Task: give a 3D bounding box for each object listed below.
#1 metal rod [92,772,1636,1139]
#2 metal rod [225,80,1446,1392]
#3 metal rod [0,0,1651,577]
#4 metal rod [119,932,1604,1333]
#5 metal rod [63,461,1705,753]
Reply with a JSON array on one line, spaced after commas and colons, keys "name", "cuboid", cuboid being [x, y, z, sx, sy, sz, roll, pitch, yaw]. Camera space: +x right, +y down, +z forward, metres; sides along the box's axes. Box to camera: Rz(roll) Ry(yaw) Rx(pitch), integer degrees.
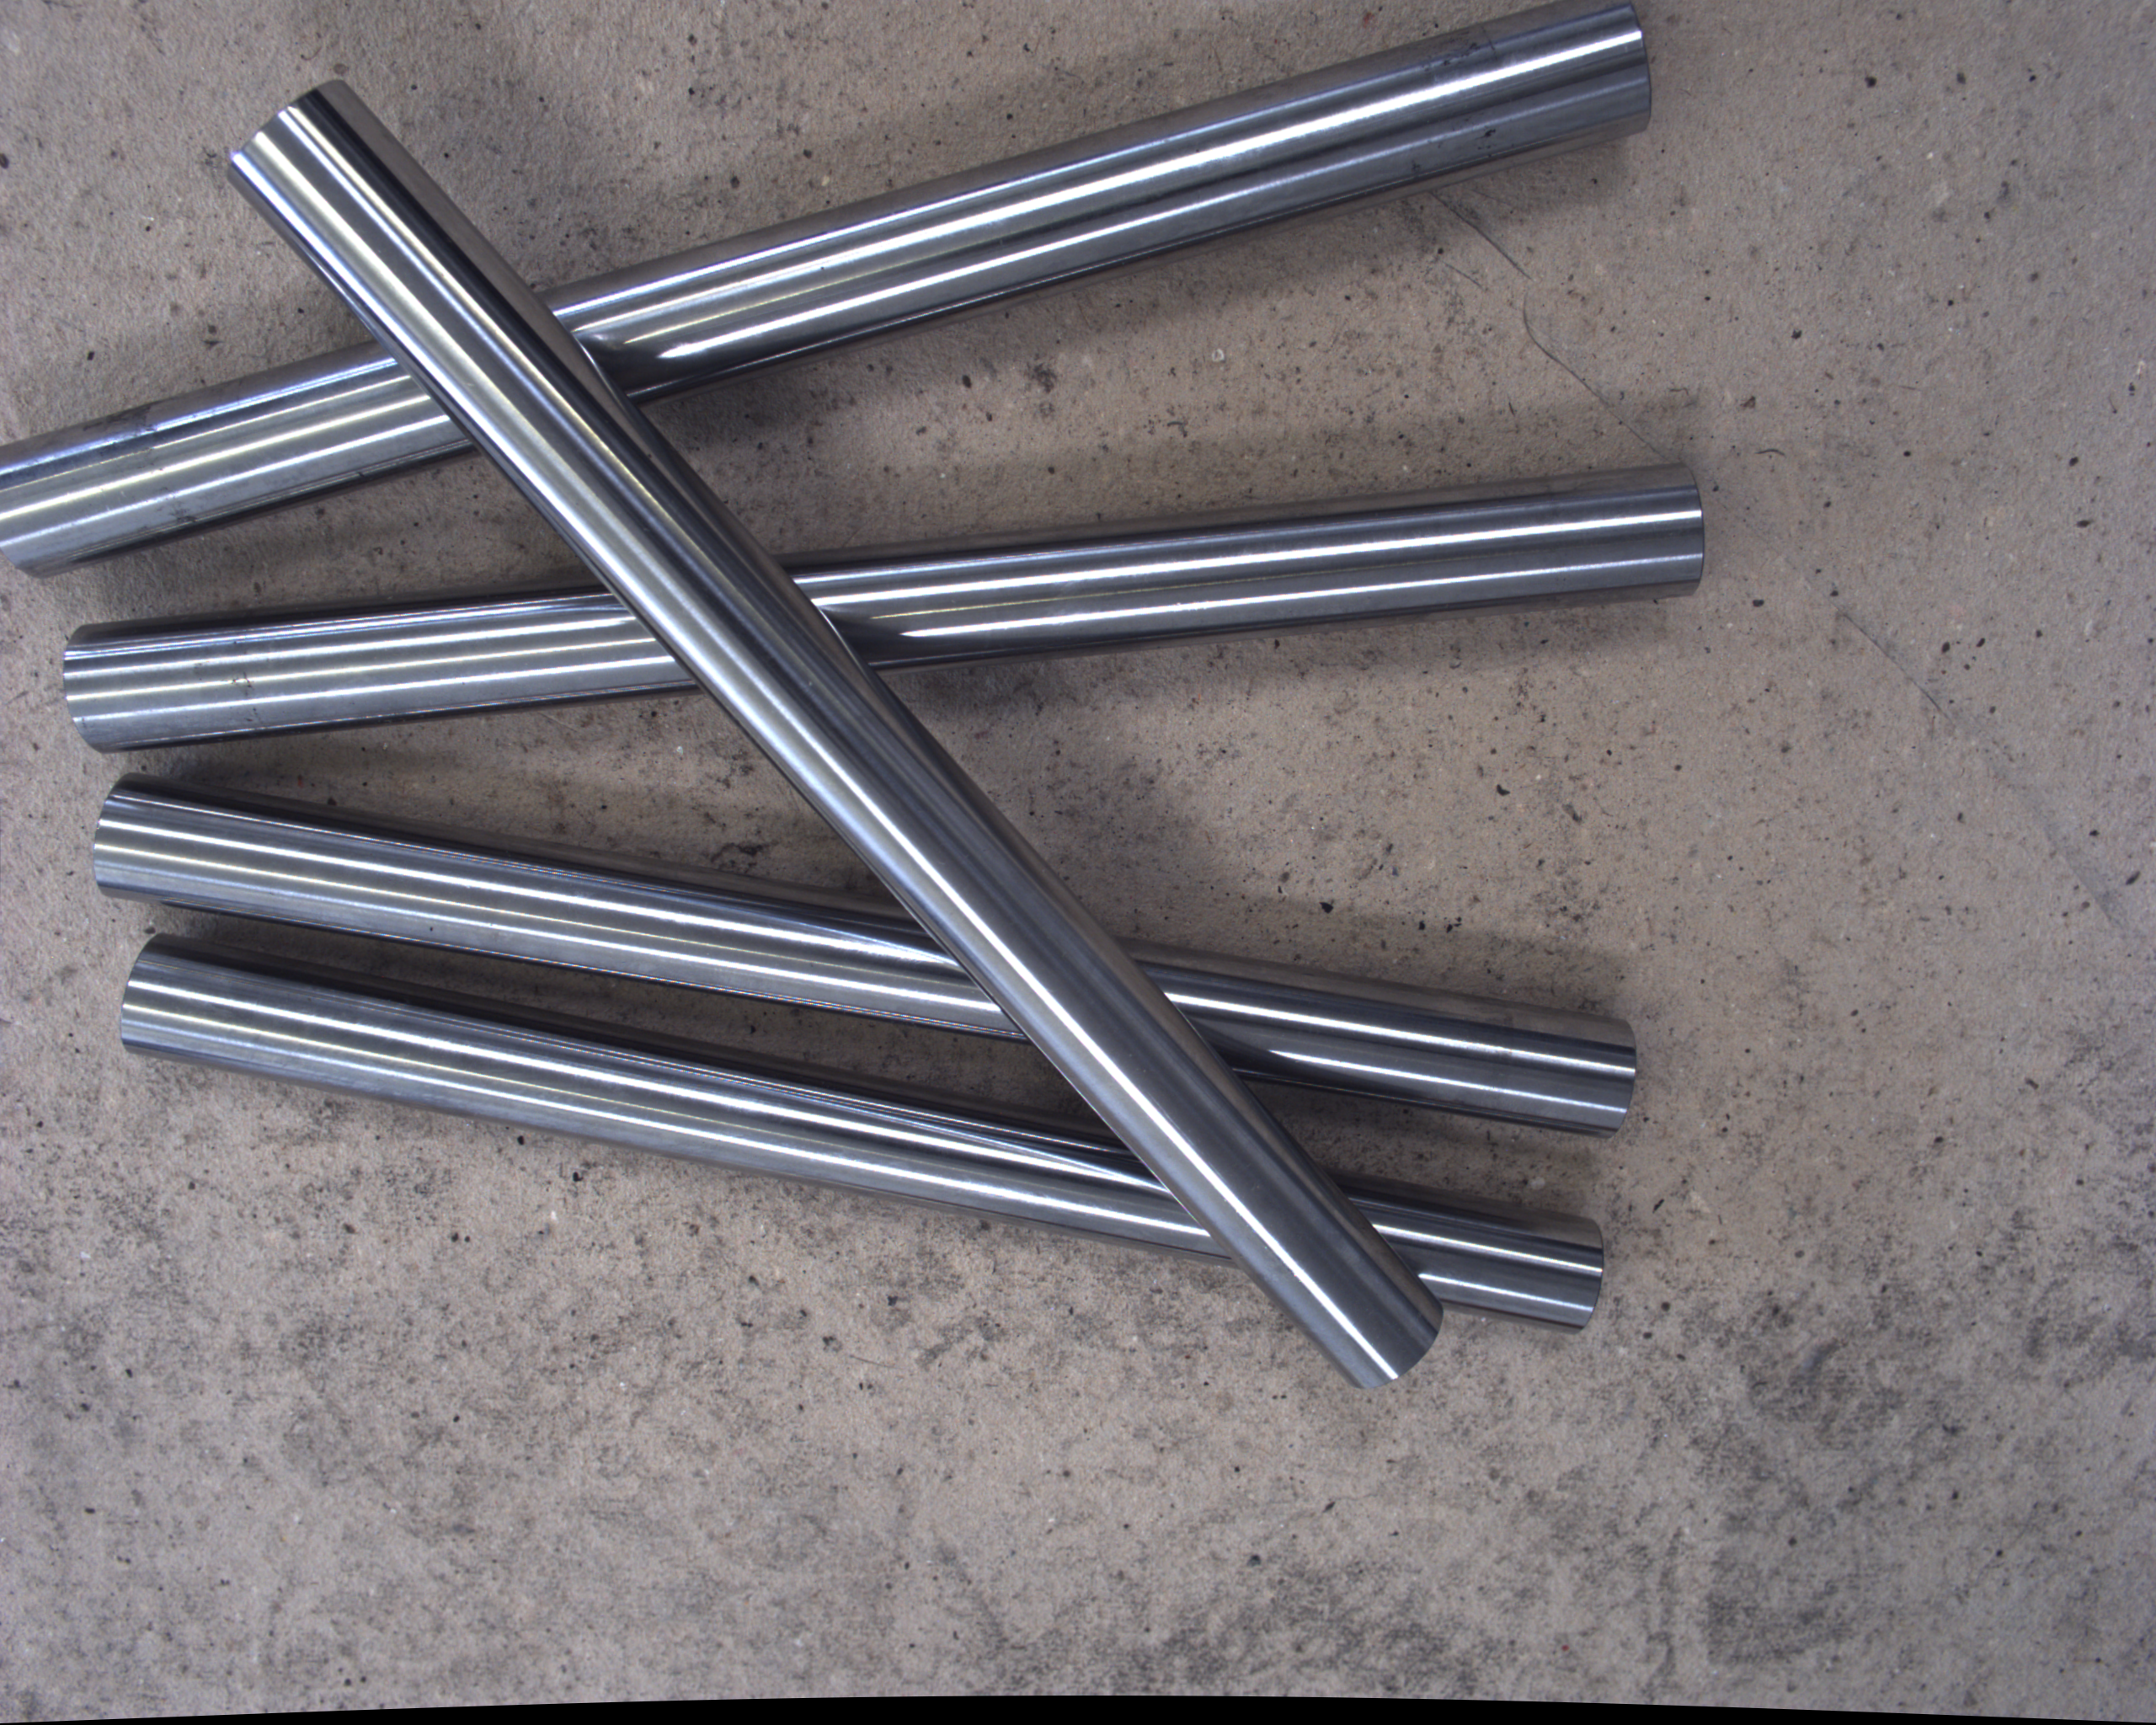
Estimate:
[{"name": "metal rod", "cuboid": [-0.039, 0.020, 0.418, 0.302, 0.025, 0.025, 10, 110, -4]}, {"name": "metal rod", "cuboid": [-0.033, -0.011, 0.379, 0.025, 0.025, 0.300, -38, 106, 13]}, {"name": "metal rod", "cuboid": [-0.050, -0.102, 0.374, 0.301, 0.025, 0.025, -14, 110, 5]}, {"name": "metal rod", "cuboid": [-0.040, 0.057, 0.431, 0.302, 0.025, 0.025, 12, 110, -5]}, {"name": "metal rod", "cuboid": [-0.037, -0.048, 0.393, 0.302, 0.025, 0.025, -6, 110, 1]}]
